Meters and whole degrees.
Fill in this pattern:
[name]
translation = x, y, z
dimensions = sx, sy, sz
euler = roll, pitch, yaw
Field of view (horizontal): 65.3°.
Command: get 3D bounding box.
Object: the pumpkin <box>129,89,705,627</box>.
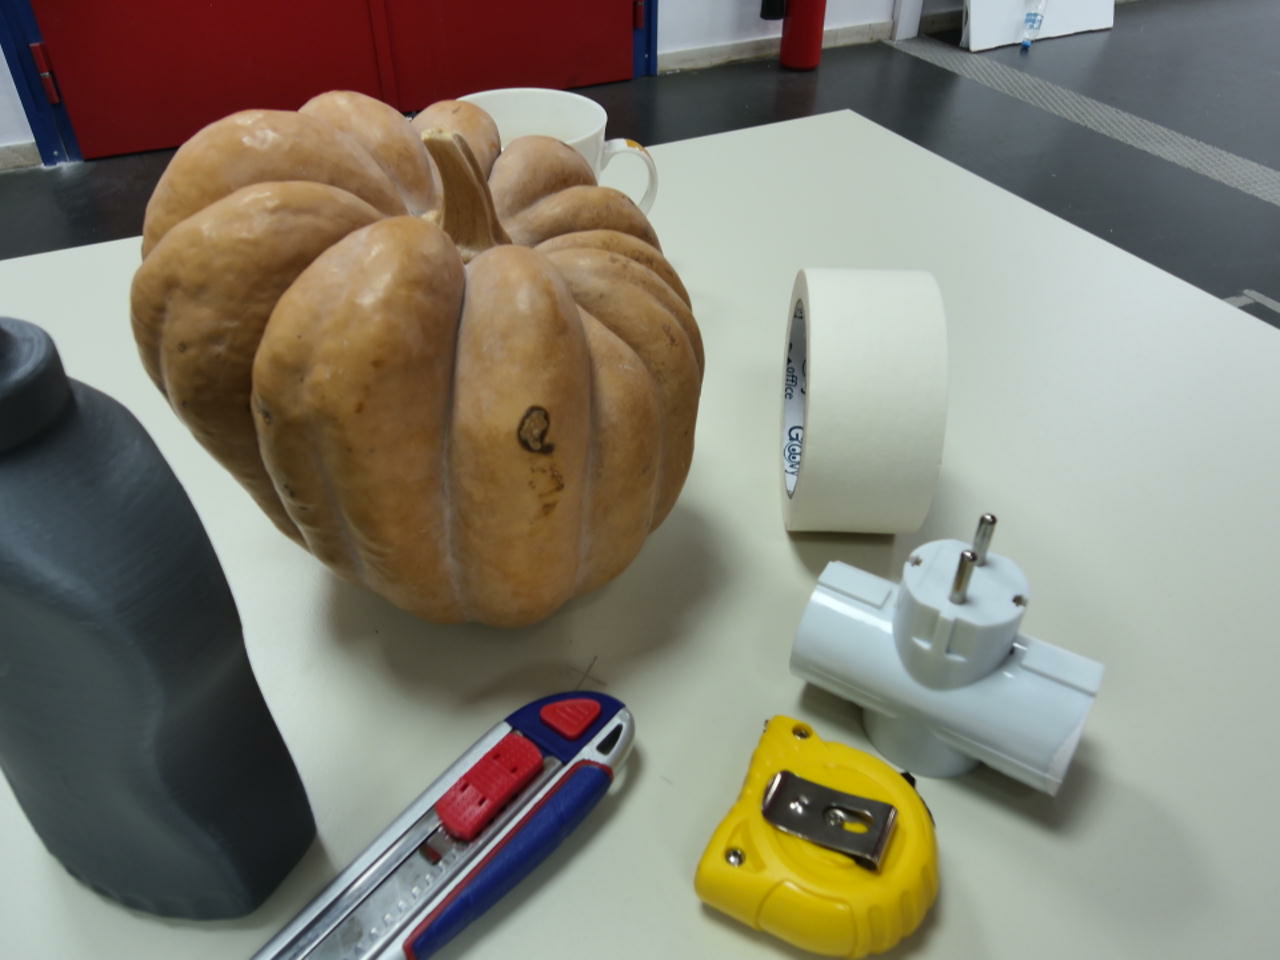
[pumpkin]
translation = -0.072, -0.042, 0.362
dimensions = 0.199, 0.177, 0.198
euler = 0, 38, 0
